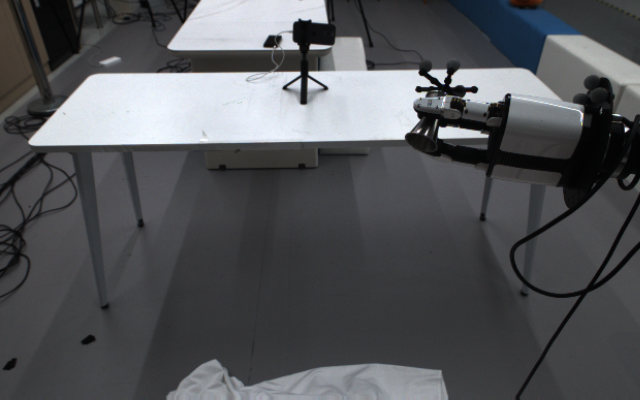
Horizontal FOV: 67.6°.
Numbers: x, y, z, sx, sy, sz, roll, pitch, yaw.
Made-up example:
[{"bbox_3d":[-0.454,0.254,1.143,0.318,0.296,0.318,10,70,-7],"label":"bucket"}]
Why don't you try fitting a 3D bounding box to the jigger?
[{"bbox_3d":[0.142,-0.105,0.623,0.043,0.043,0.071,20,73,24],"label":"jigger"}]
